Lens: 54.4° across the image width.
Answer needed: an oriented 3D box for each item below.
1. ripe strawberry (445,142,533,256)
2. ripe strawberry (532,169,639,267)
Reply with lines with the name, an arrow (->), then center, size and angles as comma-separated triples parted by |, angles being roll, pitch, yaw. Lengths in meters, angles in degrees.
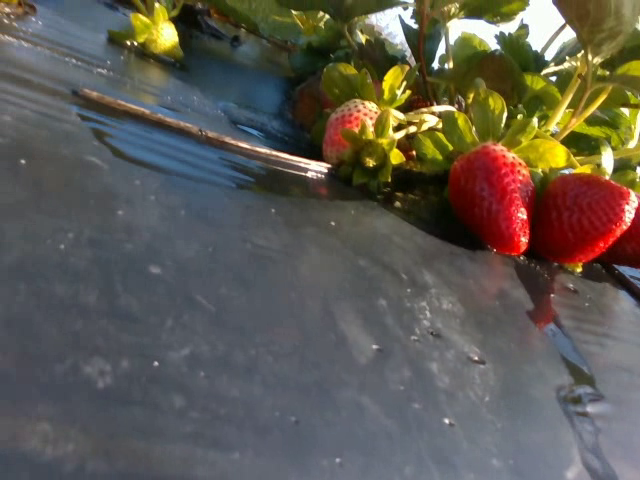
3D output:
ripe strawberry -> 0.058, -0.014, 0.196 | 0.031, 0.046, 0.023 | 16, -47, -20
ripe strawberry -> 0.087, -0.010, 0.201 | 0.030, 0.037, 0.039 | 25, -9, -14
